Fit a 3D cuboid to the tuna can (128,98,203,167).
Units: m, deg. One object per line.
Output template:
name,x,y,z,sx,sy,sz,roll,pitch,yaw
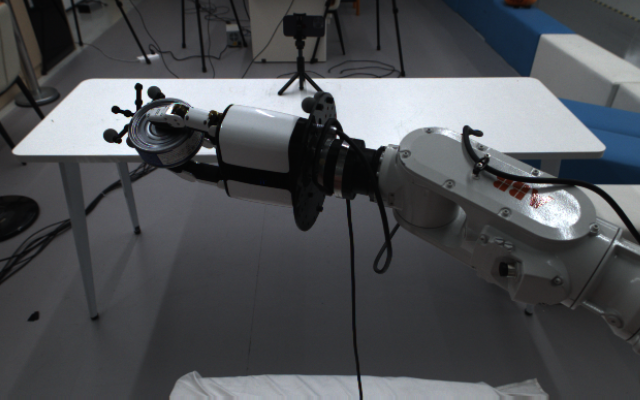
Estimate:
tuna can,-0.186,-0.079,0.595,0.085,0.034,0.085,-1,63,2
